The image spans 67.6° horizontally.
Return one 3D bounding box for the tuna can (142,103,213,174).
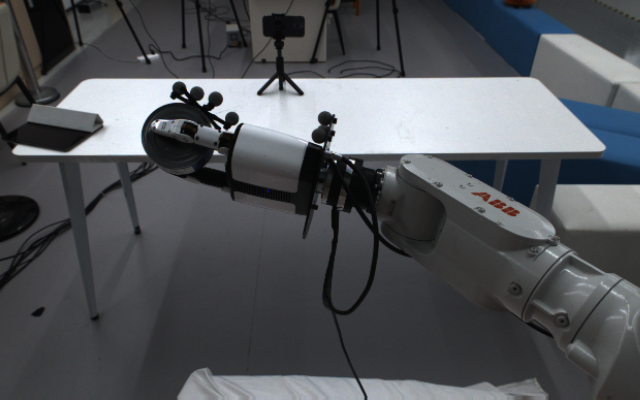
[{"bbox_3d":[-0.176,-0.075,0.609,0.085,0.034,0.085,1,75,-4],"label":"tuna can"}]
